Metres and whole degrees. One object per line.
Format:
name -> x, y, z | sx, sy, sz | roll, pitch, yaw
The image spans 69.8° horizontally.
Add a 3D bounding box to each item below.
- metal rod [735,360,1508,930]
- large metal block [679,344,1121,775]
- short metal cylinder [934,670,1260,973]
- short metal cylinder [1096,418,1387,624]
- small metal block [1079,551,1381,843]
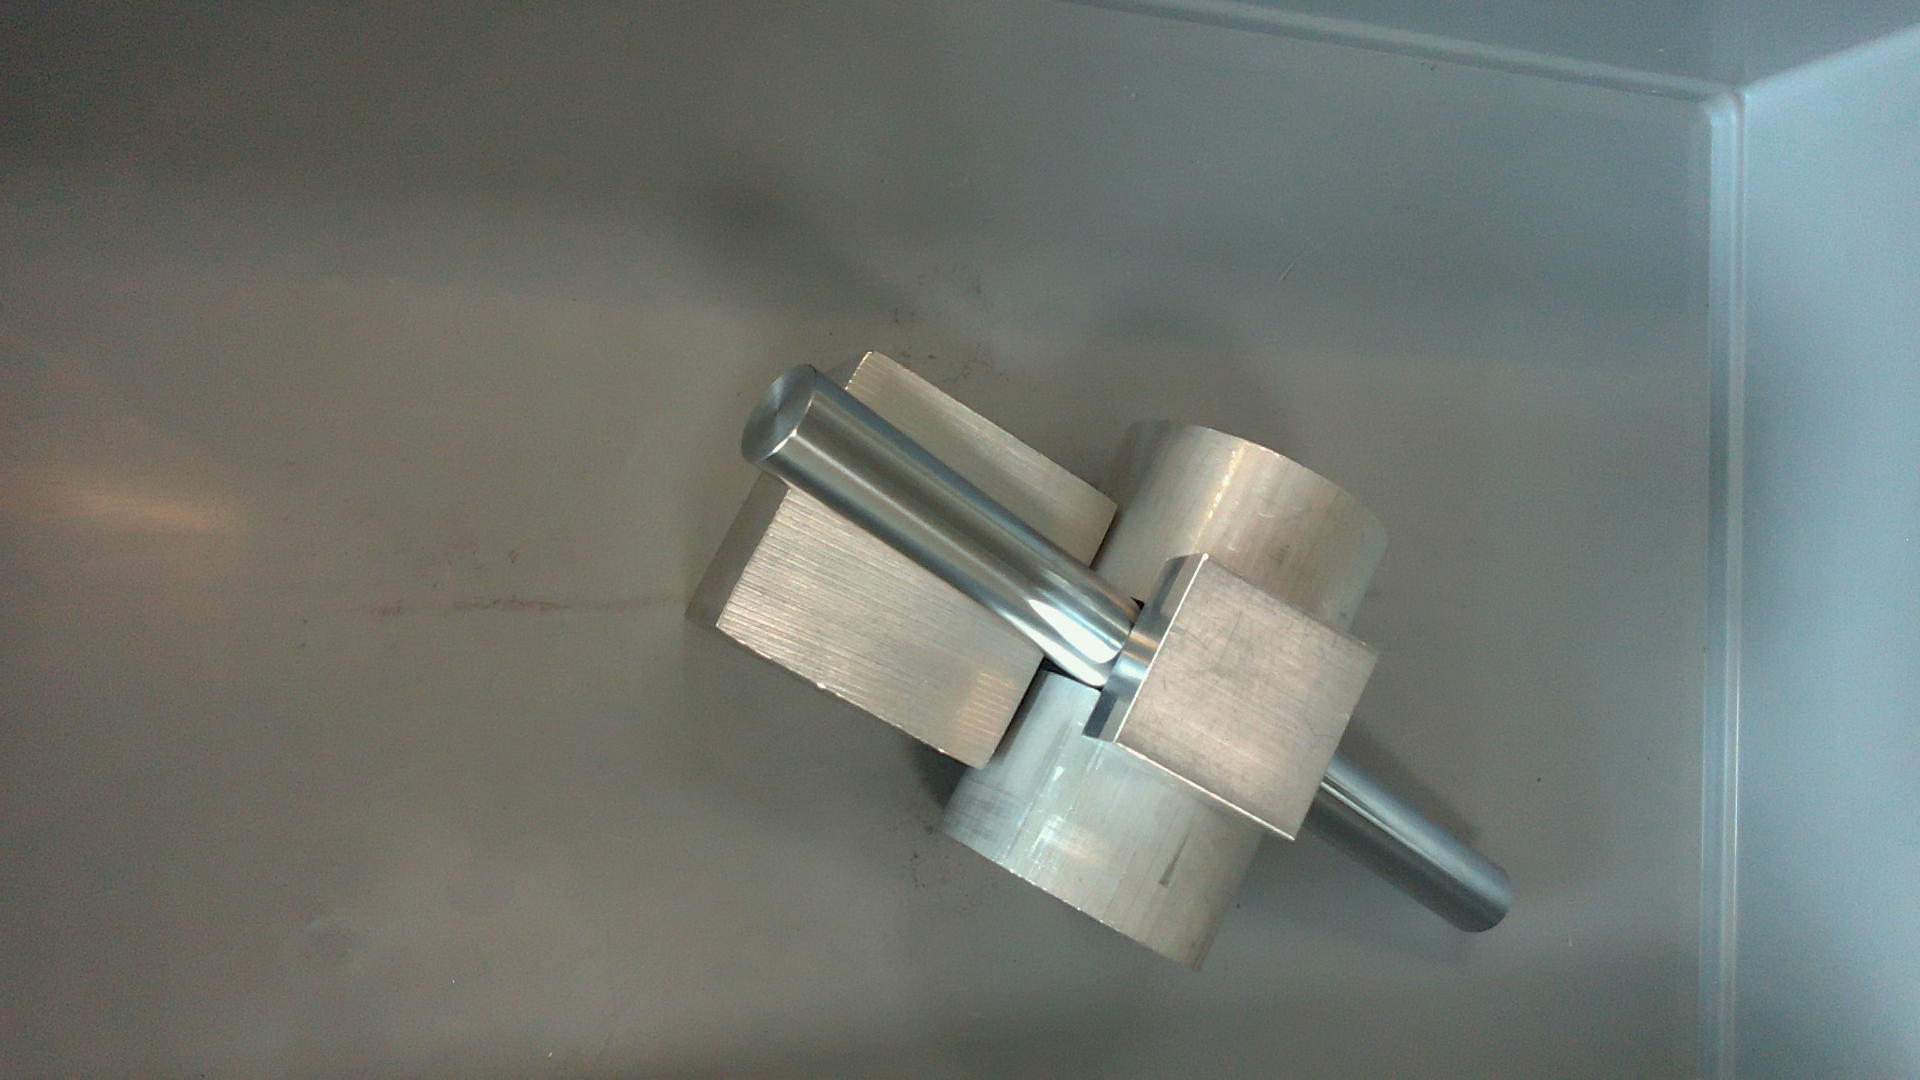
metal rod -> 0.065, 0.044, 0.374 | 0.301, 0.025, 0.025 | 35, 79, -32
large metal block -> -0.017, 0.006, 0.371 | 0.080, 0.050, 0.080 | 31, 80, -17
short metal cylinder -> 0.040, 0.076, 0.378 | 0.080, 0.080, 0.050 | 32, 80, -17
short metal cylinder -> 0.073, 0.007, 0.390 | 0.080, 0.080, 0.050 | 29, 81, -18
small metal block -> 0.065, 0.037, 0.332 | 0.050, 0.025, 0.050 | 29, 81, -9
